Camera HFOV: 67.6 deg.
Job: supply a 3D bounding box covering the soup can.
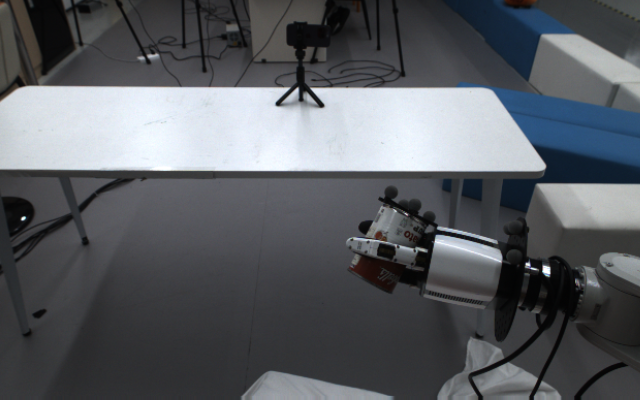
[{"bbox_3d":[0.090,0.064,0.642,0.067,0.101,0.067,28,-3,1],"label":"soup can"}]
